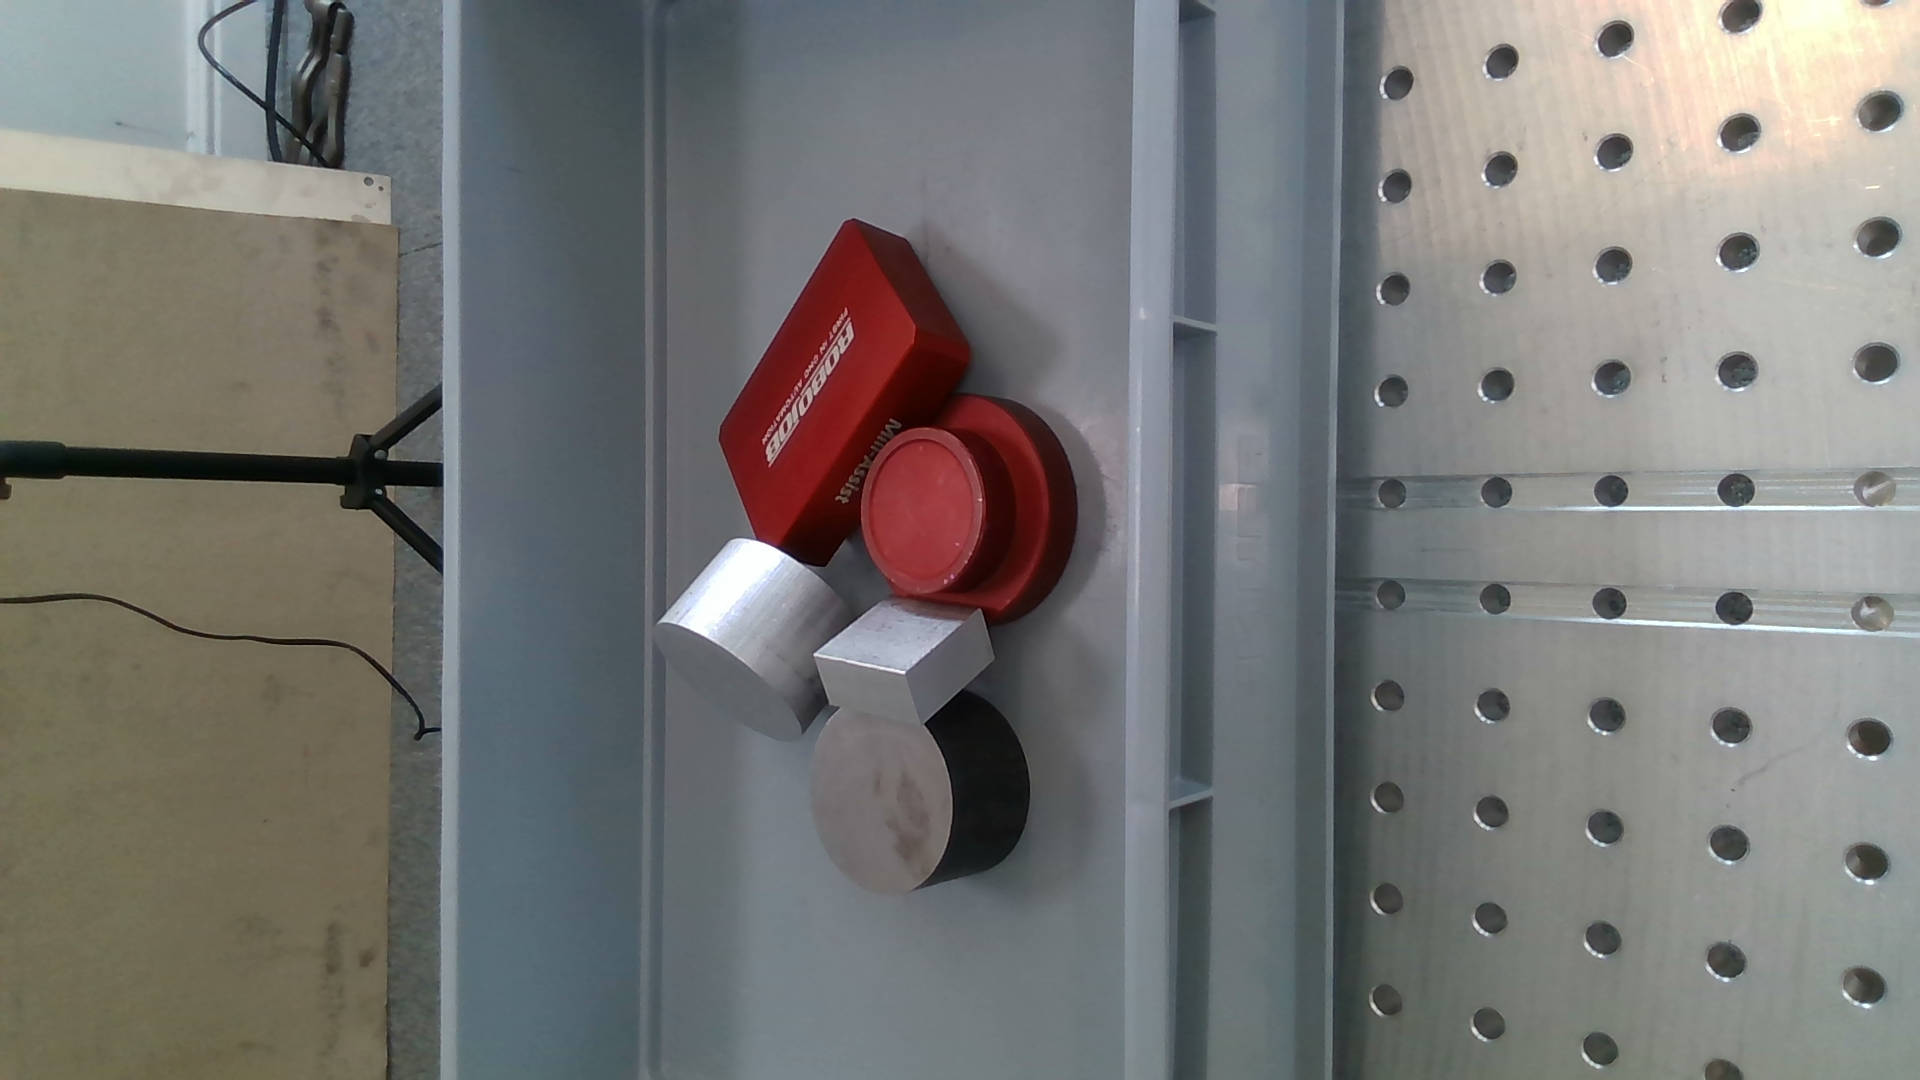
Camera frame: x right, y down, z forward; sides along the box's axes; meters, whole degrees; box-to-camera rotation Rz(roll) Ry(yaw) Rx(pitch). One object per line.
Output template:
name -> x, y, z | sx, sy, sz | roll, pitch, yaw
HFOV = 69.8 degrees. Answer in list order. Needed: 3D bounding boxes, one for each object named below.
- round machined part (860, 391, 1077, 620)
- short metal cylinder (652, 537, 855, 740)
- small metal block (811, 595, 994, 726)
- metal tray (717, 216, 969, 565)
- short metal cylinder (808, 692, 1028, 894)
round machined part -> -0.003, -0.013, 0.572 | 0.098, 0.042, 0.098 | 0, 91, 40
short metal cylinder -> -0.089, 0.044, 0.612 | 0.080, 0.080, 0.050 | 13, 55, 39
small metal block -> -0.023, 0.047, 0.560 | 0.050, 0.050, 0.025 | 7, 123, 39
metal tray -> -0.056, -0.064, 0.609 | 0.130, 0.030, 0.090 | -53, 44, 28
short metal cylinder -> -0.018, 0.104, 0.581 | 0.080, 0.050, 0.080 | 0, 91, 40
